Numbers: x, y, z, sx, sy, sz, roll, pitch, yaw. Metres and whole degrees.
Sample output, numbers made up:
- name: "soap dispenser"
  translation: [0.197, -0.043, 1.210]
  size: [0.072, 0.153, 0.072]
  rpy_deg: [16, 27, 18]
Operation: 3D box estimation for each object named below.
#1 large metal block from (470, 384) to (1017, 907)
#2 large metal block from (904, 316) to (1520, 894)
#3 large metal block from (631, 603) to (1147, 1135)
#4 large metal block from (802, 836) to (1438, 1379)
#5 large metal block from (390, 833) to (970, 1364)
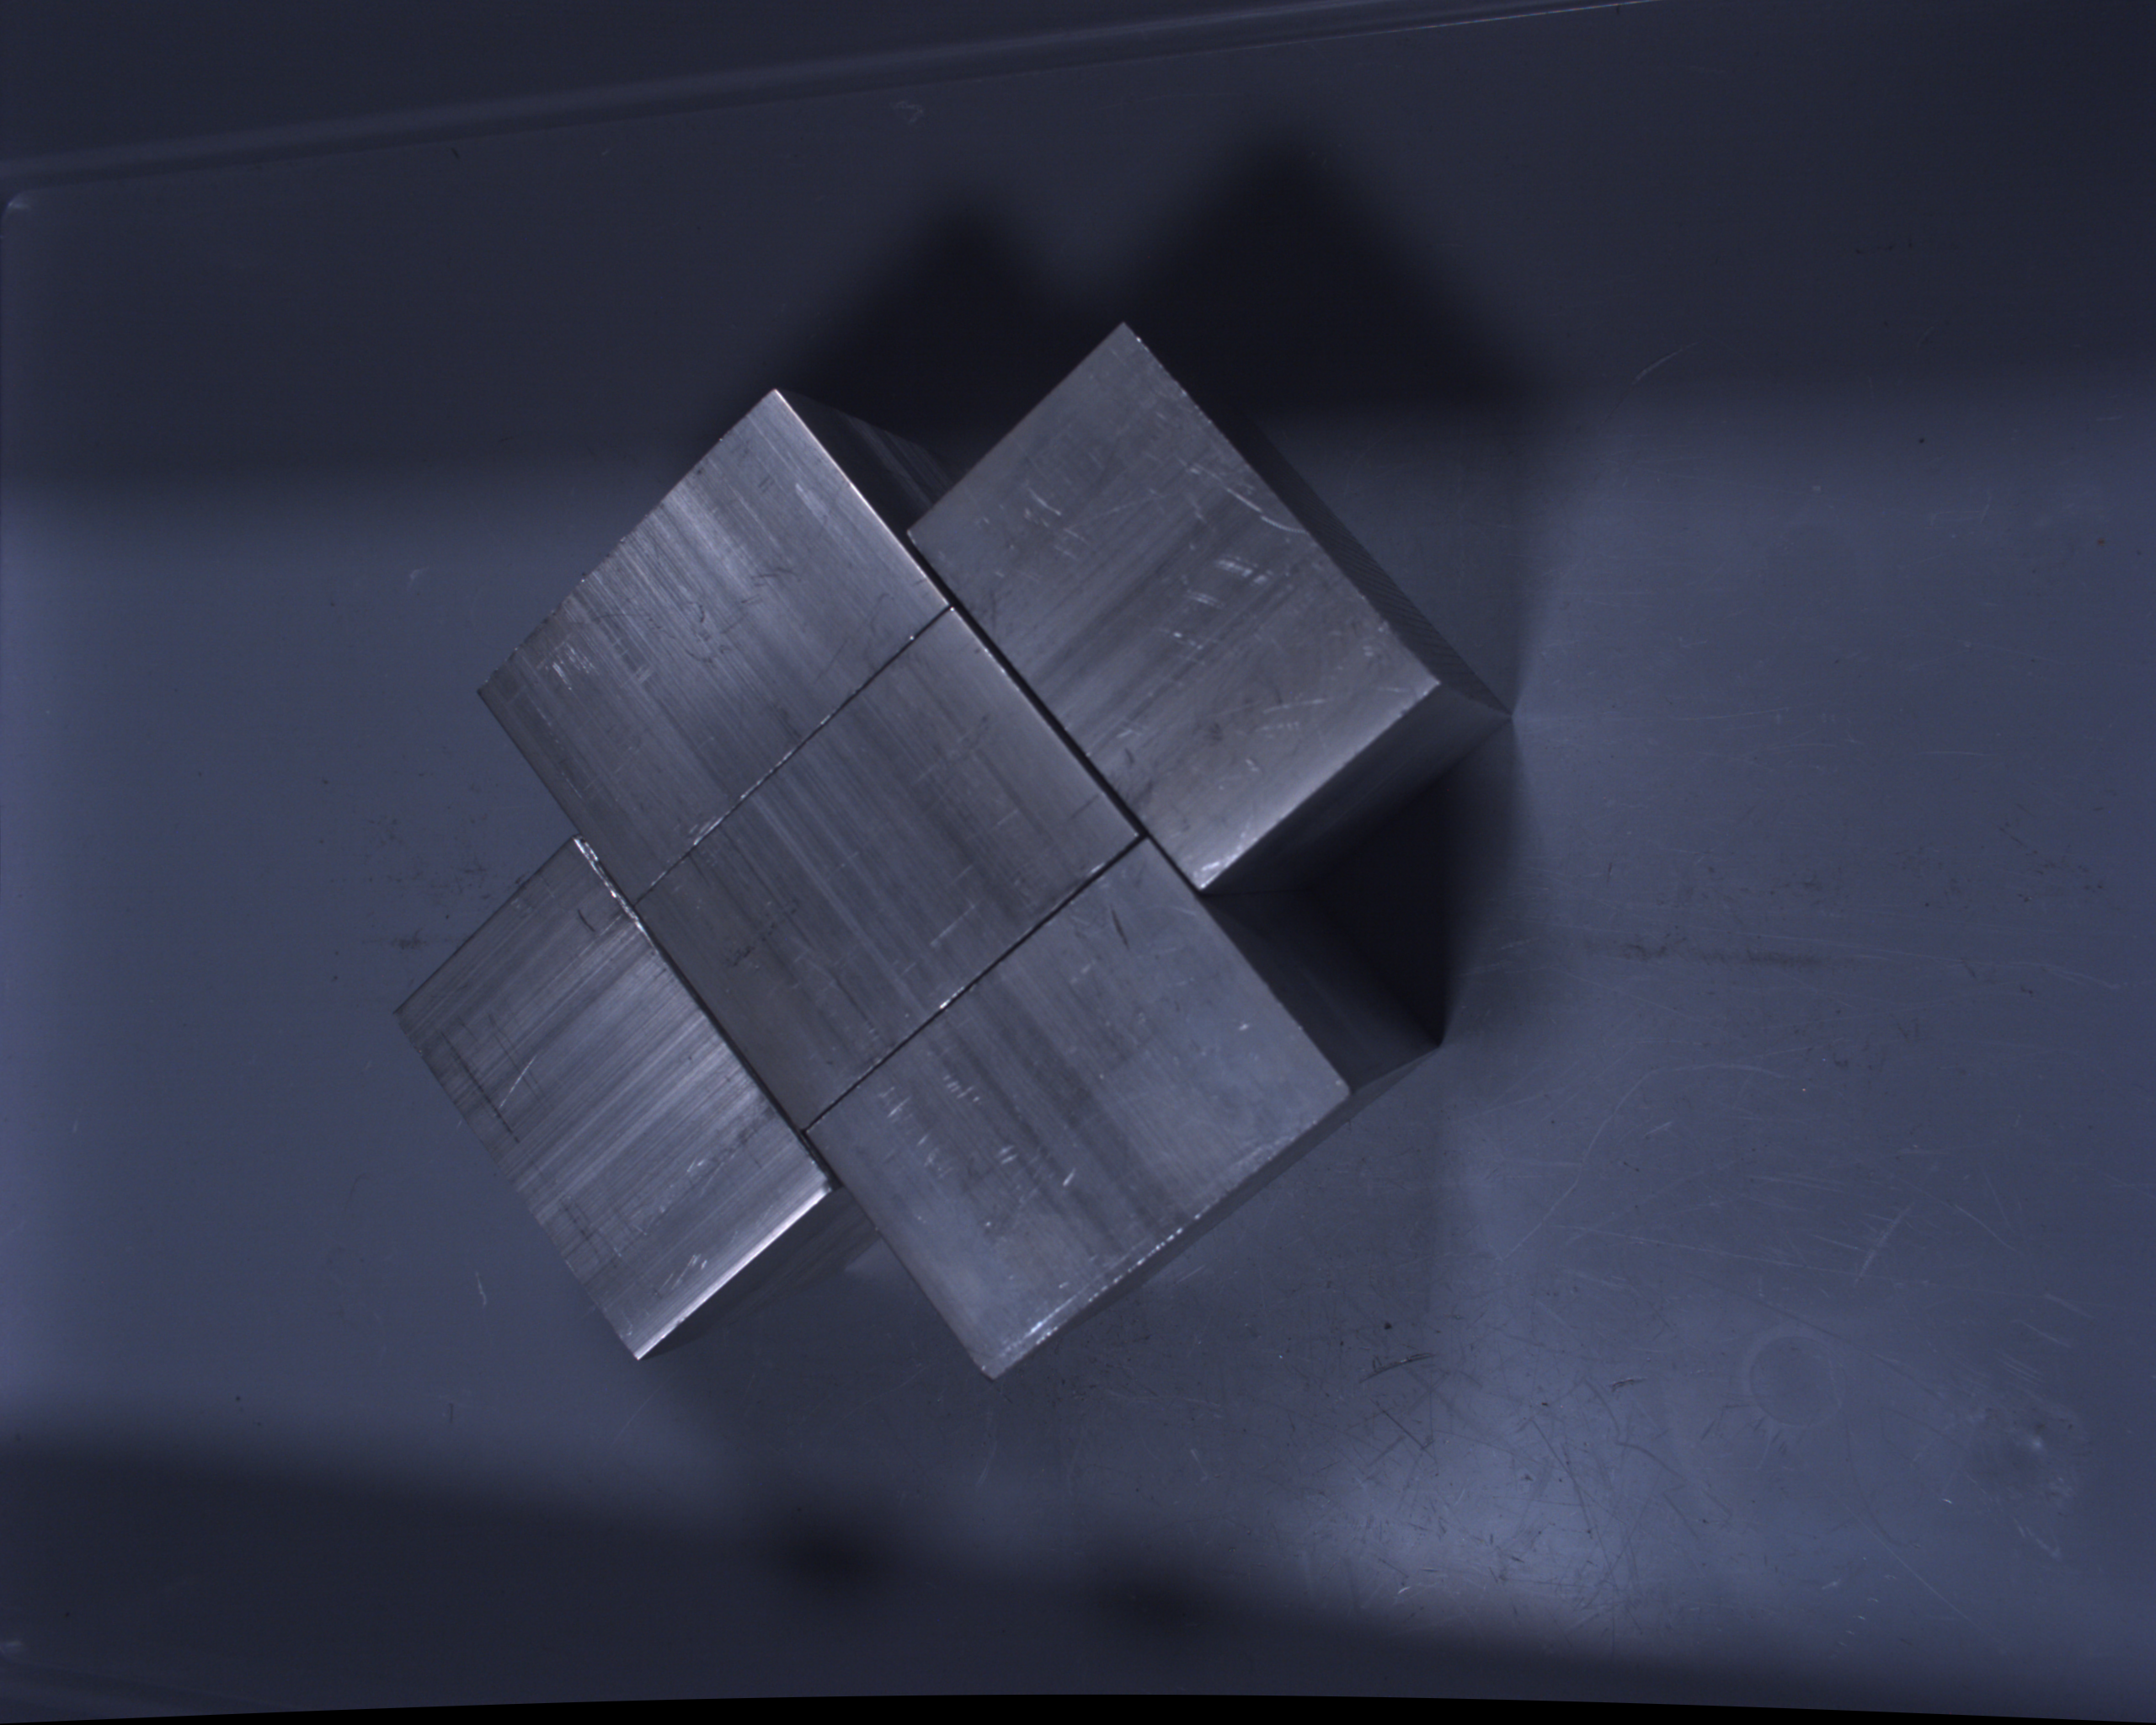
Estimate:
- name: "large metal block"
  translation: [-0.051, -0.037, 0.397]
  size: [0.080, 0.080, 0.050]
  rpy_deg: [-42, 77, 15]
- name: "large metal block"
  translation: [0.027, -0.042, 0.370]
  size: [0.050, 0.080, 0.080]
  rpy_deg: [-42, 77, 15]
- name: "large metal block"
  translation: [-0.020, 0.001, 0.387]
  size: [0.080, 0.080, 0.050]
  rpy_deg: [-42, 77, 15]
- name: "large metal block"
  translation: [0.011, 0.040, 0.376]
  size: [0.080, 0.080, 0.050]
  rpy_deg: [-42, 77, 15]
- name: "large metal block"
  translation: [-0.070, 0.041, 0.404]
  size: [0.050, 0.080, 0.080]
  rpy_deg: [-42, 77, 15]
